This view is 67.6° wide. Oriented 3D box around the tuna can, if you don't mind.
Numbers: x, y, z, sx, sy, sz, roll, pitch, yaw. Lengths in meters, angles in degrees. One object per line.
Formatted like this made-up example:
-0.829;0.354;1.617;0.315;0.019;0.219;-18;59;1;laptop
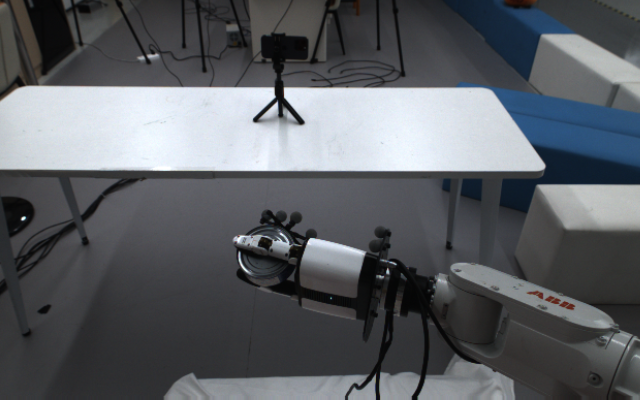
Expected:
-0.075;0.080;0.705;0.085;0.034;0.085;-4;56;6;tuna can
